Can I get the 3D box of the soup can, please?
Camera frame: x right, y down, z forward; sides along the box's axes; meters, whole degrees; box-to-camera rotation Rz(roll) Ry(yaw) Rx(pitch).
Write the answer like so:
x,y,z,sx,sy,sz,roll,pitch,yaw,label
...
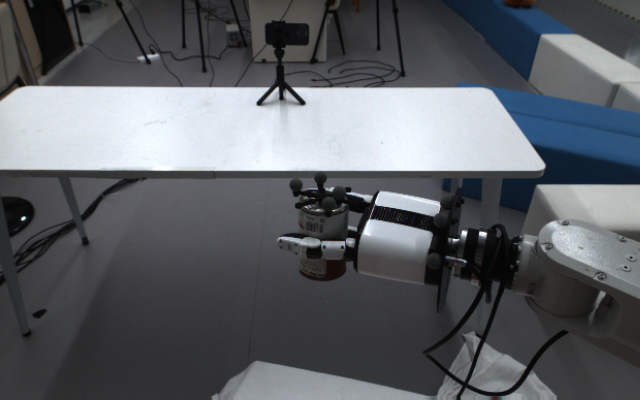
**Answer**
x,y,z,sx,sy,sz,roll,pitch,yaw,label
0.006,0.048,0.644,0.067,0.101,0.067,1,26,0,soup can
